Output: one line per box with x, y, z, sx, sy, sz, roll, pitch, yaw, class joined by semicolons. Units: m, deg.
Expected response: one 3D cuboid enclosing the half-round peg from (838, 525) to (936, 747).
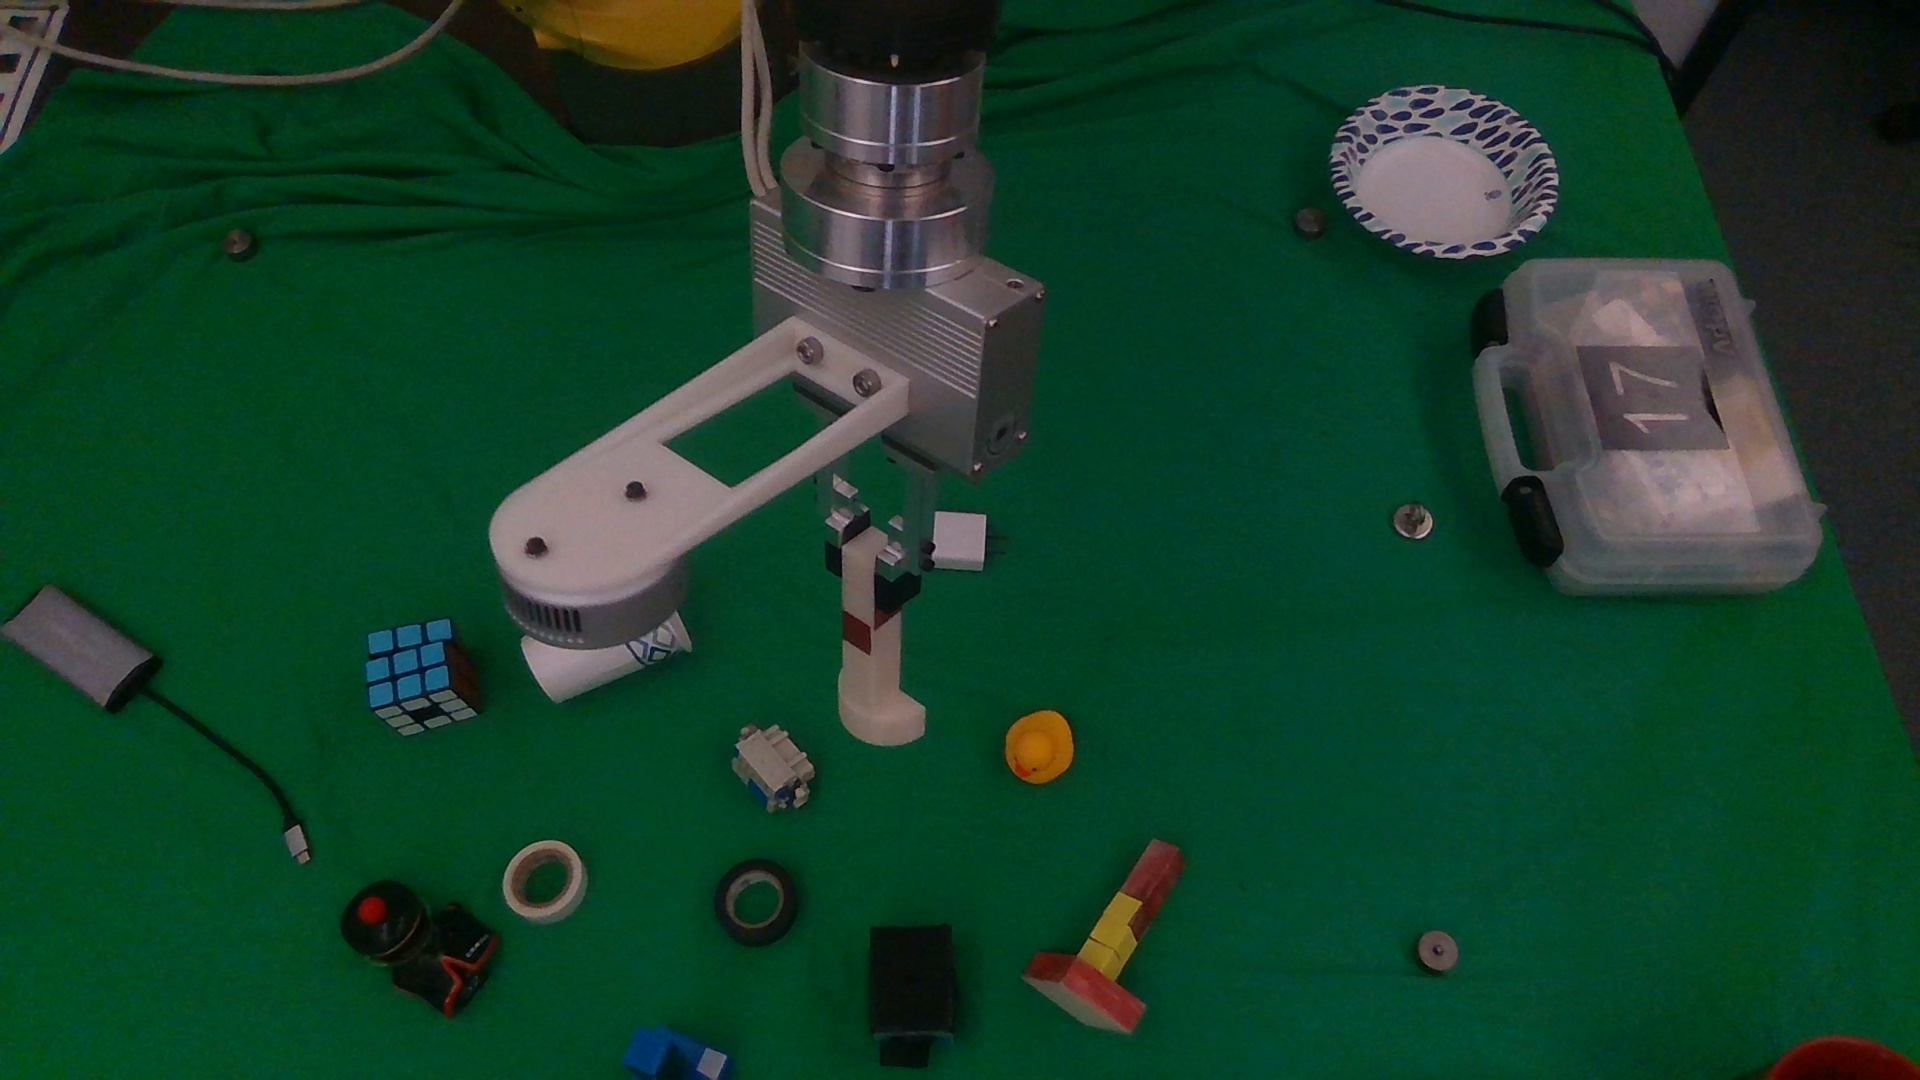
-0.038;0.044;0.635;0.054;0.122;0.031;34;51;30;half-round peg

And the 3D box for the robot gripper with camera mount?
-0.082;-0.003;0.508;0.119;0.158;0.193;31;46;30;robot gripper with camera mount
